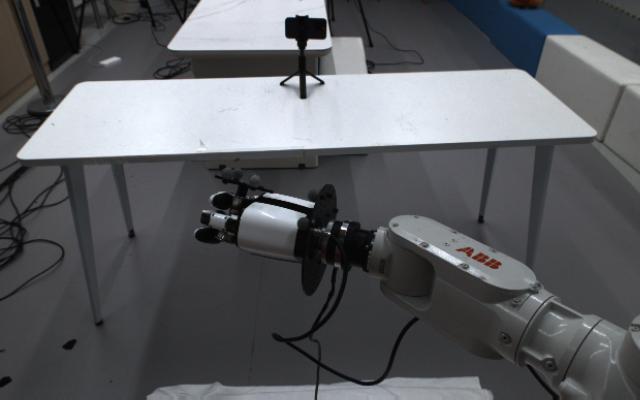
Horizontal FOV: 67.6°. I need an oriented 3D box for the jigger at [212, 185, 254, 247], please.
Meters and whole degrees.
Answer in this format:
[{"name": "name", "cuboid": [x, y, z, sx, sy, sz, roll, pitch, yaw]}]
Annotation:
[{"name": "jigger", "cuboid": [-0.124, 0.026, 0.706, 0.043, 0.071, 0.043, 17, 2, -1]}]
